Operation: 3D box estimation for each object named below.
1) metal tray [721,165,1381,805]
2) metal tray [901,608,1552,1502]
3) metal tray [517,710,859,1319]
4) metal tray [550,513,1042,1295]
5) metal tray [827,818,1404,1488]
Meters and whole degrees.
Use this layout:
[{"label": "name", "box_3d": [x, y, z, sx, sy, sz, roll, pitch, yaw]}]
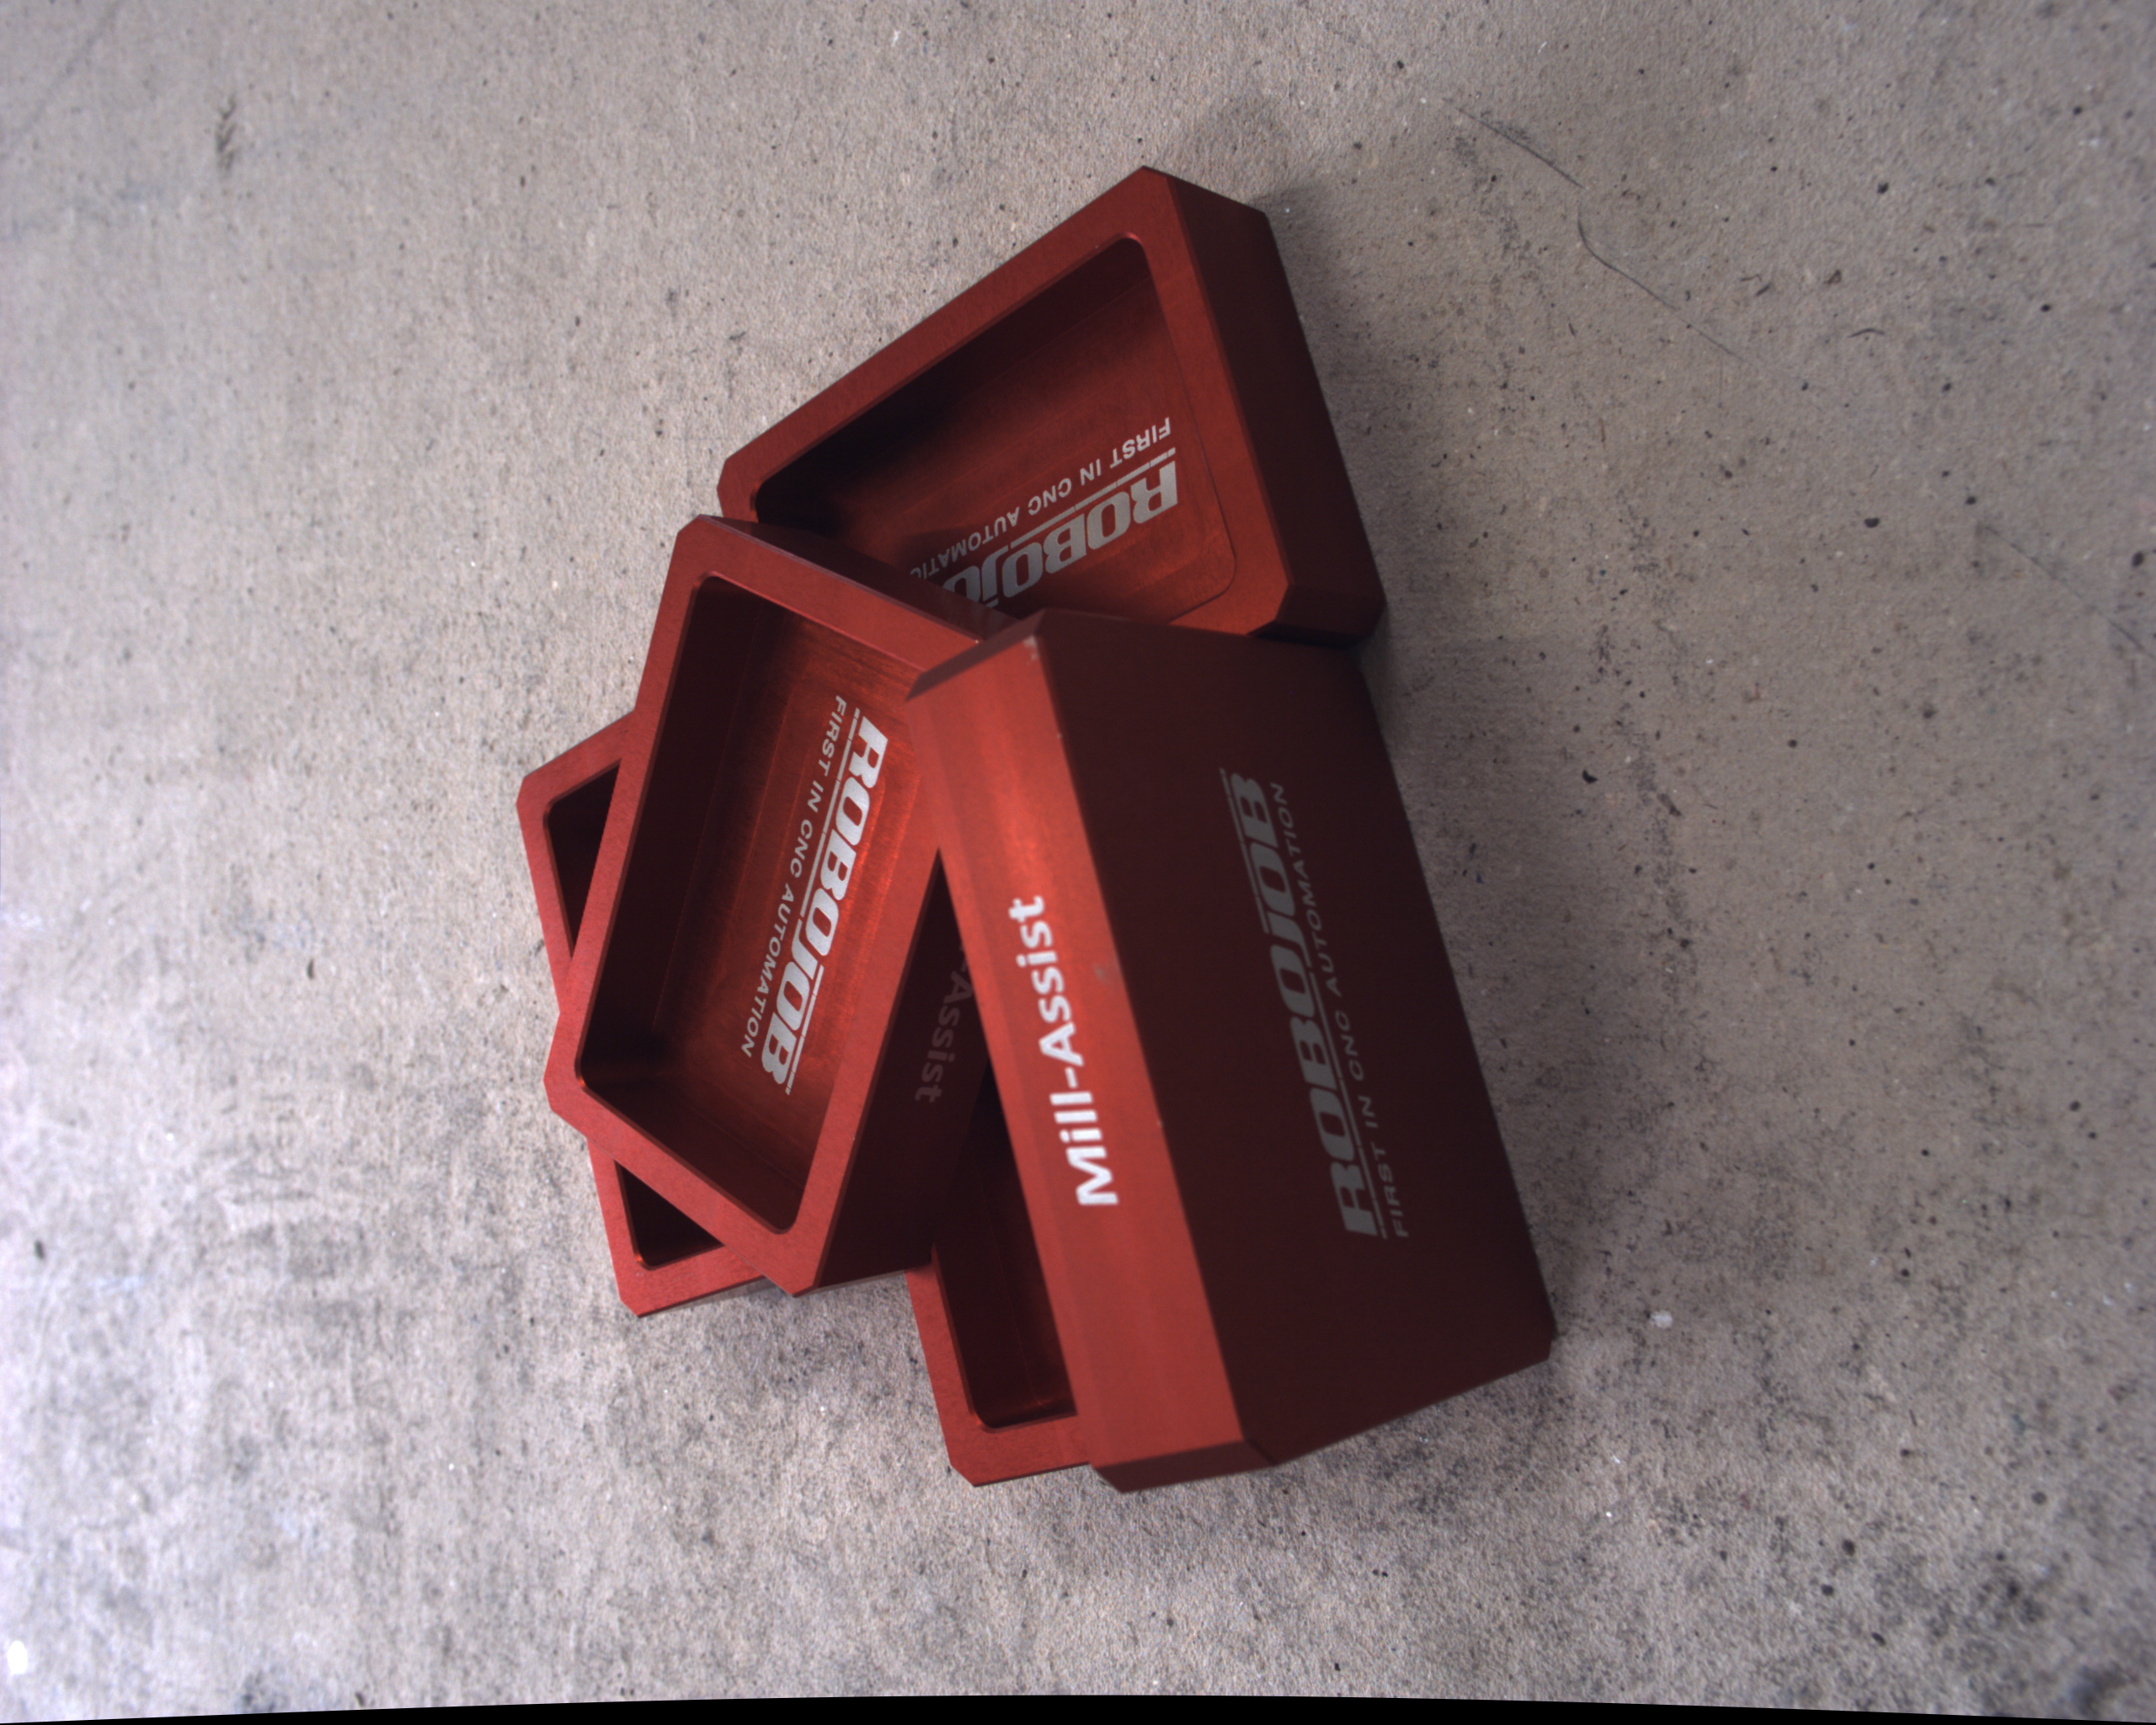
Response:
[{"label": "metal tray", "box_3d": [-0.011, -0.064, 0.414, 0.130, 0.030, 0.090, -24, 75, 38]}, {"label": "metal tray", "box_3d": [0.026, 0.027, 0.339, 0.030, 0.091, 0.129, -23, 76, 37]}, {"label": "metal tray", "box_3d": [-0.077, 0.028, 0.465, 0.090, 0.030, 0.129, -24, 75, 38]}, {"label": "metal tray", "box_3d": [-0.054, 0.006, 0.410, 0.090, 0.030, 0.129, 28, 108, 37]}, {"label": "metal tray", "box_3d": [0.001, 0.046, 0.400, 0.090, 0.030, 0.129, -25, 76, 38]}]
